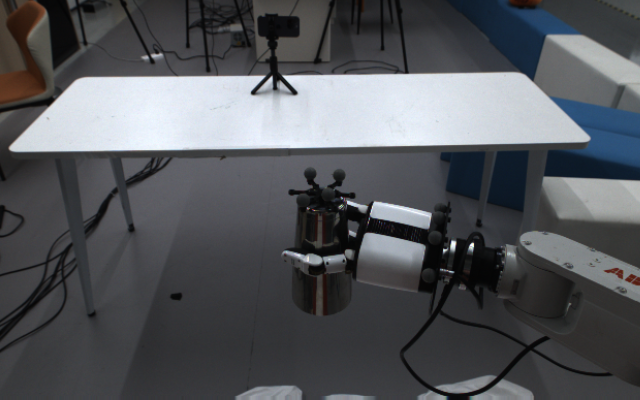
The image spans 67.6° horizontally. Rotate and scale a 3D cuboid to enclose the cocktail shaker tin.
[{"bbox_3d":[0.005,0.070,0.690,0.093,0.170,0.093,0,33,0],"label":"cocktail shaker tin"}]
